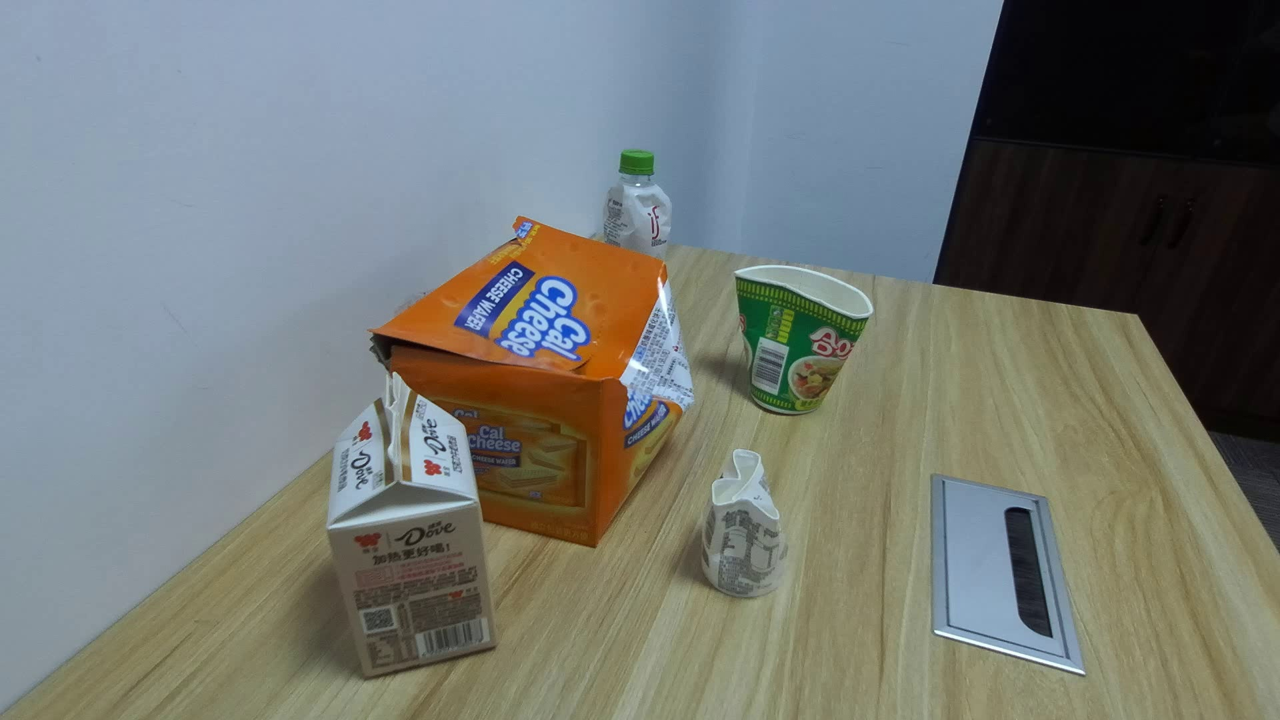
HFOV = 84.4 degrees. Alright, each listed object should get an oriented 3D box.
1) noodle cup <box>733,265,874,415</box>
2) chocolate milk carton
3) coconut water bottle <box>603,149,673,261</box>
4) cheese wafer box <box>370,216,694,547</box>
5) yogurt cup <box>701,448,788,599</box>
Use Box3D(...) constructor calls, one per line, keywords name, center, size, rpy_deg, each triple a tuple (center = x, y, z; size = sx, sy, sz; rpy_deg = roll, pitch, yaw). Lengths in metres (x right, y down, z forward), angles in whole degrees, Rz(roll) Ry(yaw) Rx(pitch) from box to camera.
Box3D(name="noodle cup", center=(0.134, -0.016, 0.606), size=(0.070, 0.111, 0.114), rpy_deg=(-14, 35, -22))
Box3D(name="chocolate milk carton", center=(-0.123, 0.085, 0.380), size=(0.074, 0.148, 0.075), rpy_deg=(-8, 30, -17))
Box3D(name="coconut water bottle", center=(-0.003, -0.104, 0.678), size=(0.067, 0.187, 0.067), rpy_deg=(1, 24, 0))
Box3D(name="cheese wafer box", center=(-0.053, 0.002, 0.538), size=(0.191, 0.145, 0.219), rpy_deg=(9, 31, 13))
Box3D(name="yogurt cup", center=(0.065, 0.103, 0.439), size=(0.055, 0.072, 0.055), rpy_deg=(13, 33, 22))
